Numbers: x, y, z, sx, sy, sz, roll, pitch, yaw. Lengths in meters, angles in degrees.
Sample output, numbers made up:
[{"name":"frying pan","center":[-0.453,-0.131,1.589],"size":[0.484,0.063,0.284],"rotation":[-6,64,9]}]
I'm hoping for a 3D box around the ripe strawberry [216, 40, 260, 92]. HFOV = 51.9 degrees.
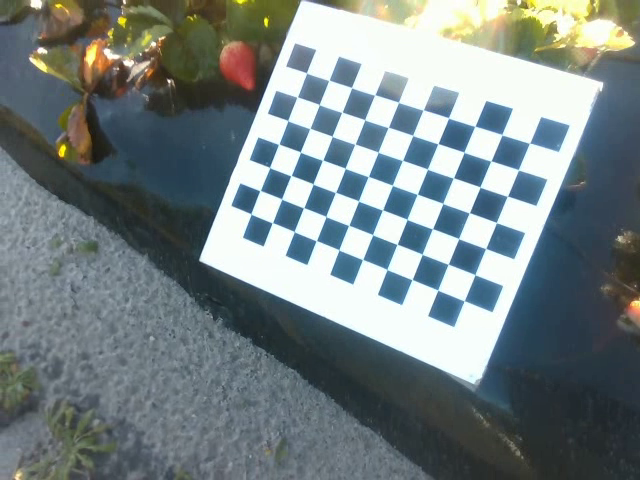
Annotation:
[{"name":"ripe strawberry","center":[-0.092,-0.188,0.713],"size":[0.040,0.065,0.040],"rotation":[-28,-14,10]}]
